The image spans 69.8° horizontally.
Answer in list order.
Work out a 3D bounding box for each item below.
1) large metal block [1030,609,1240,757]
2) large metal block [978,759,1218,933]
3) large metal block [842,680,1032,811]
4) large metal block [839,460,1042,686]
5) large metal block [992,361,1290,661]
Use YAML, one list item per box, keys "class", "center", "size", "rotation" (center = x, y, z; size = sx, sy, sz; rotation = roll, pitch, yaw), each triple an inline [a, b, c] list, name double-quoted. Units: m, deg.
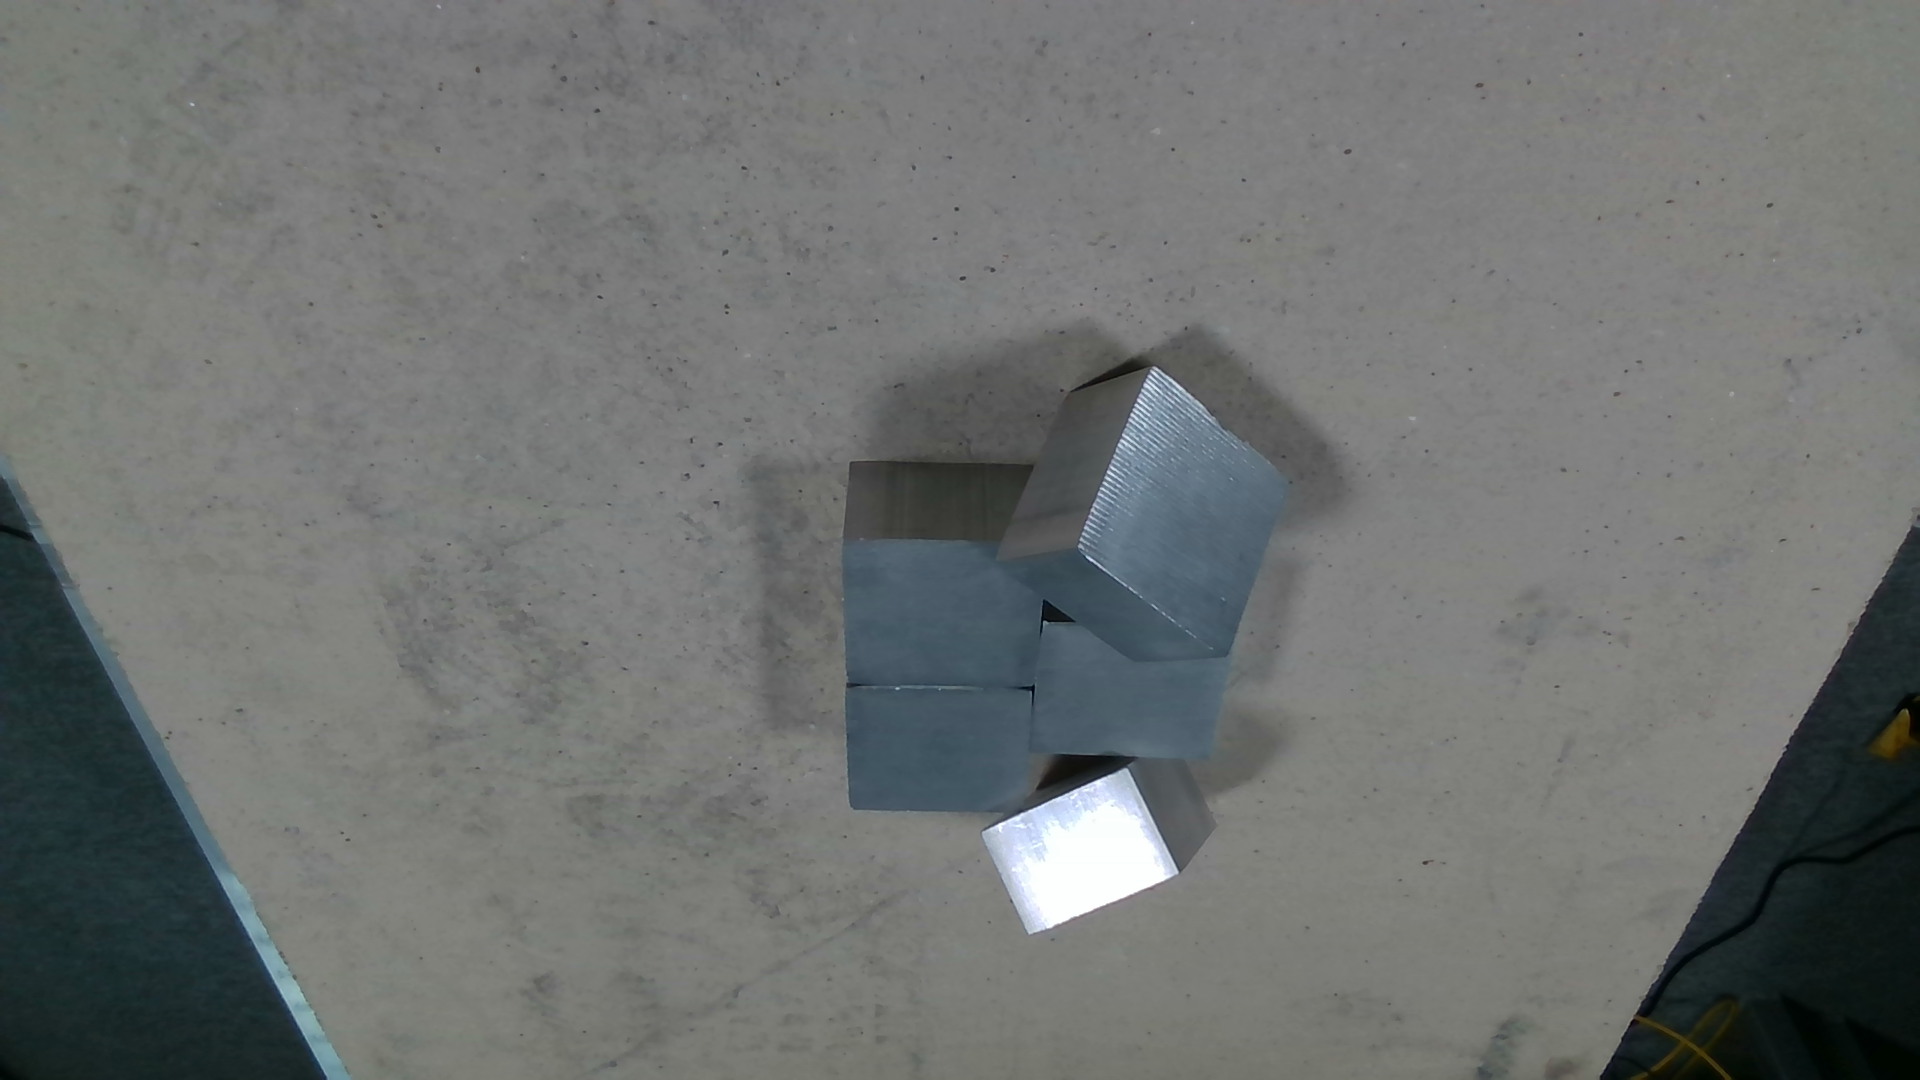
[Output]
- class: "large metal block"
  center: [0.072, 0.048, 0.604]
  size: [0.080, 0.050, 0.080]
  rotation: [2, 130, -2]
- class: "large metal block"
  center: [0.067, 0.135, 0.649]
  size: [0.080, 0.080, 0.050]
  rotation: [-28, 84, 22]
- class: "large metal block"
  center: [-0.010, 0.077, 0.626]
  size: [0.080, 0.050, 0.080]
  rotation: [1, 130, -1]
- class: "large metal block"
  center: [-0.007, 0.014, 0.574]
  size: [0.080, 0.050, 0.080]
  rotation: [1, 130, -1]
- class: "large metal block"
  center: [0.071, -0.008, 0.528]
  size: [0.080, 0.080, 0.050]
  rotation: [35, 156, -26]
